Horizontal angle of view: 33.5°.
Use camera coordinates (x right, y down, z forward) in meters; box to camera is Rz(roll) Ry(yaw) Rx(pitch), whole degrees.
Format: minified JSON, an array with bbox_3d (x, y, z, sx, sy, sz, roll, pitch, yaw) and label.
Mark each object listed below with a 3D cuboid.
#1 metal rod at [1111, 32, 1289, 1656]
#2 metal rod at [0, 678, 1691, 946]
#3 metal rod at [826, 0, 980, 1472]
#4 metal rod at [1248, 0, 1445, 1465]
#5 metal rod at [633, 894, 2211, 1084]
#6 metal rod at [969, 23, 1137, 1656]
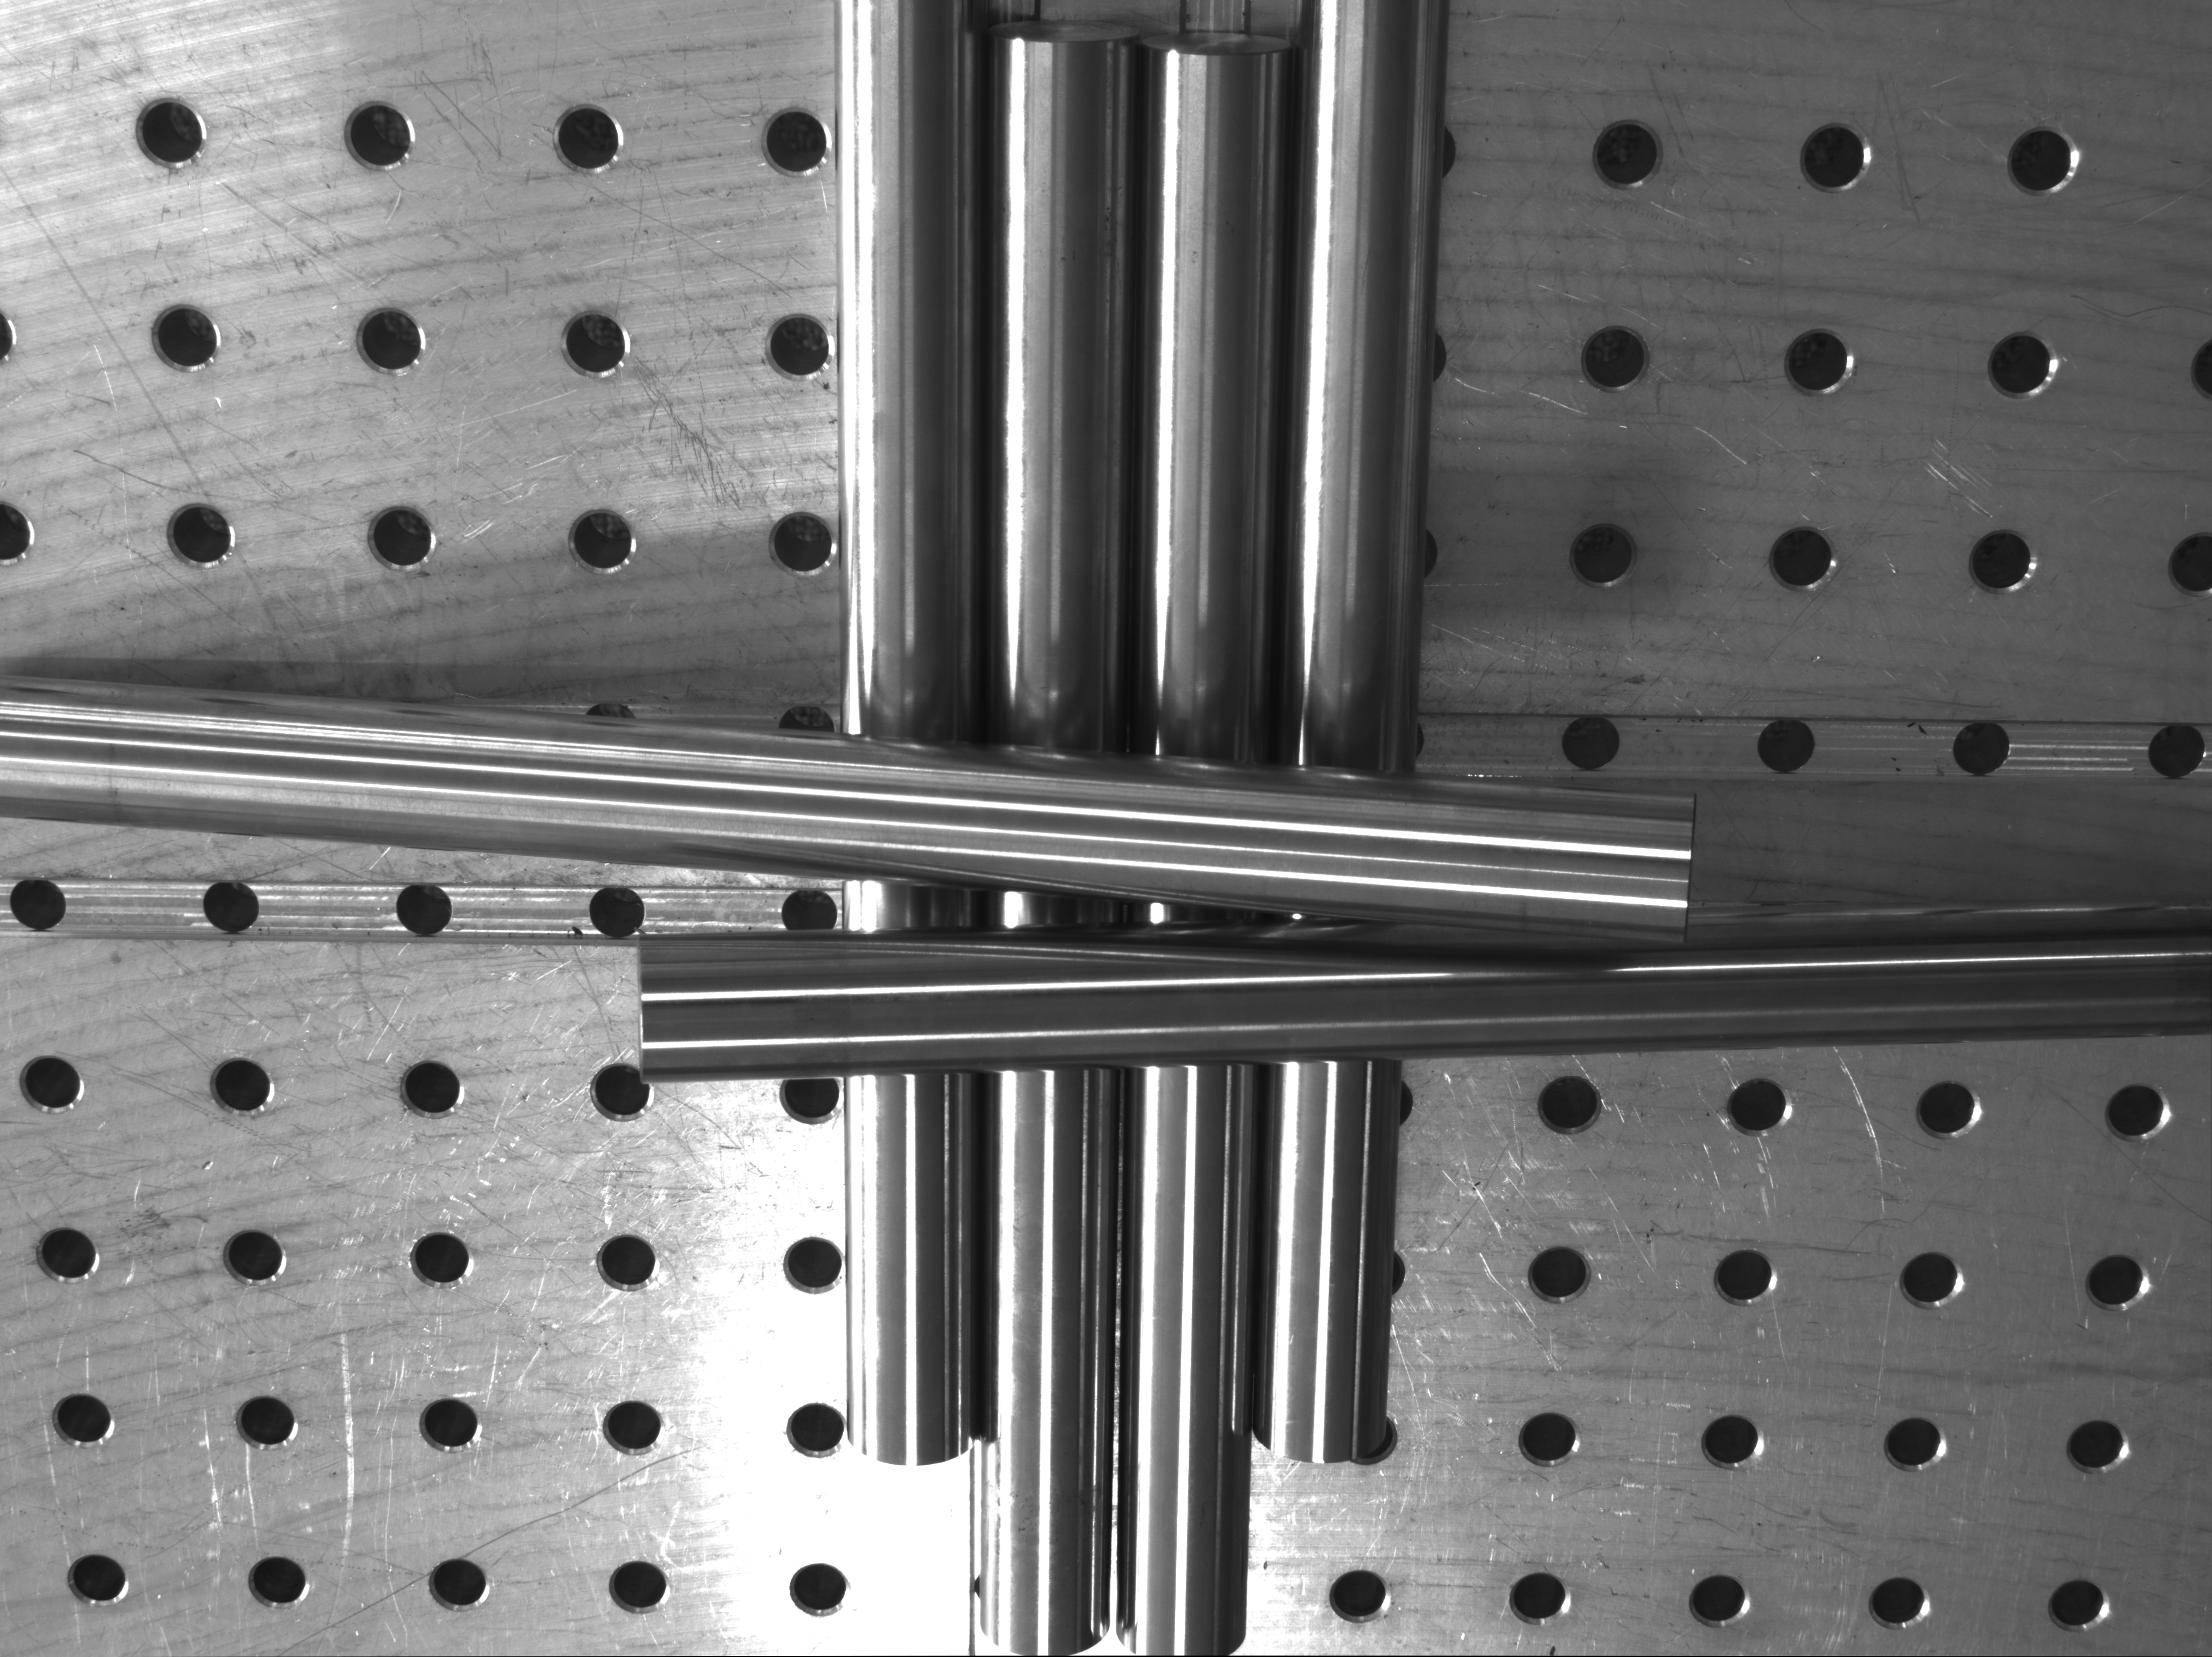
[{"bbox_3d":[0.016,0.012,0.652,0.025,0.025,0.300,1,110,0],"label":"metal rod"},{"bbox_3d":[-0.053,-0.004,0.621,0.300,0.025,0.025,4,110,8],"label":"metal rod"},{"bbox_3d":[-0.035,-0.027,0.636,0.025,0.025,0.300,1,110,0],"label":"metal rod"},{"bbox_3d":[0.041,-0.028,0.636,0.025,0.025,0.300,1,110,0],"label":"metal rod"},{"bbox_3d":[0.070,0.027,0.635,0.300,0.025,0.025,-1,110,-9],"label":"metal rod"},{"bbox_3d":[-0.011,0.011,0.650,0.025,0.025,0.300,1,110,0],"label":"metal rod"}]
